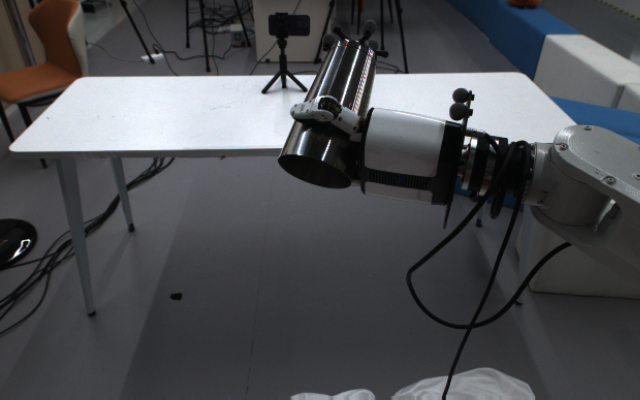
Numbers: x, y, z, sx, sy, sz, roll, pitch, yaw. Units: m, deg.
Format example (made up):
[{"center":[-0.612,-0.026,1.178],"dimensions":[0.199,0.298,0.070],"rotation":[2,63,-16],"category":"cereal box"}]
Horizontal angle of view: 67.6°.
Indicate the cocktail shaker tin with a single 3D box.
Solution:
[{"center":[0.017,-0.110,0.601],"dimensions":[0.093,0.093,0.170],"rotation":[14,72,16],"category":"cocktail shaker tin"}]
